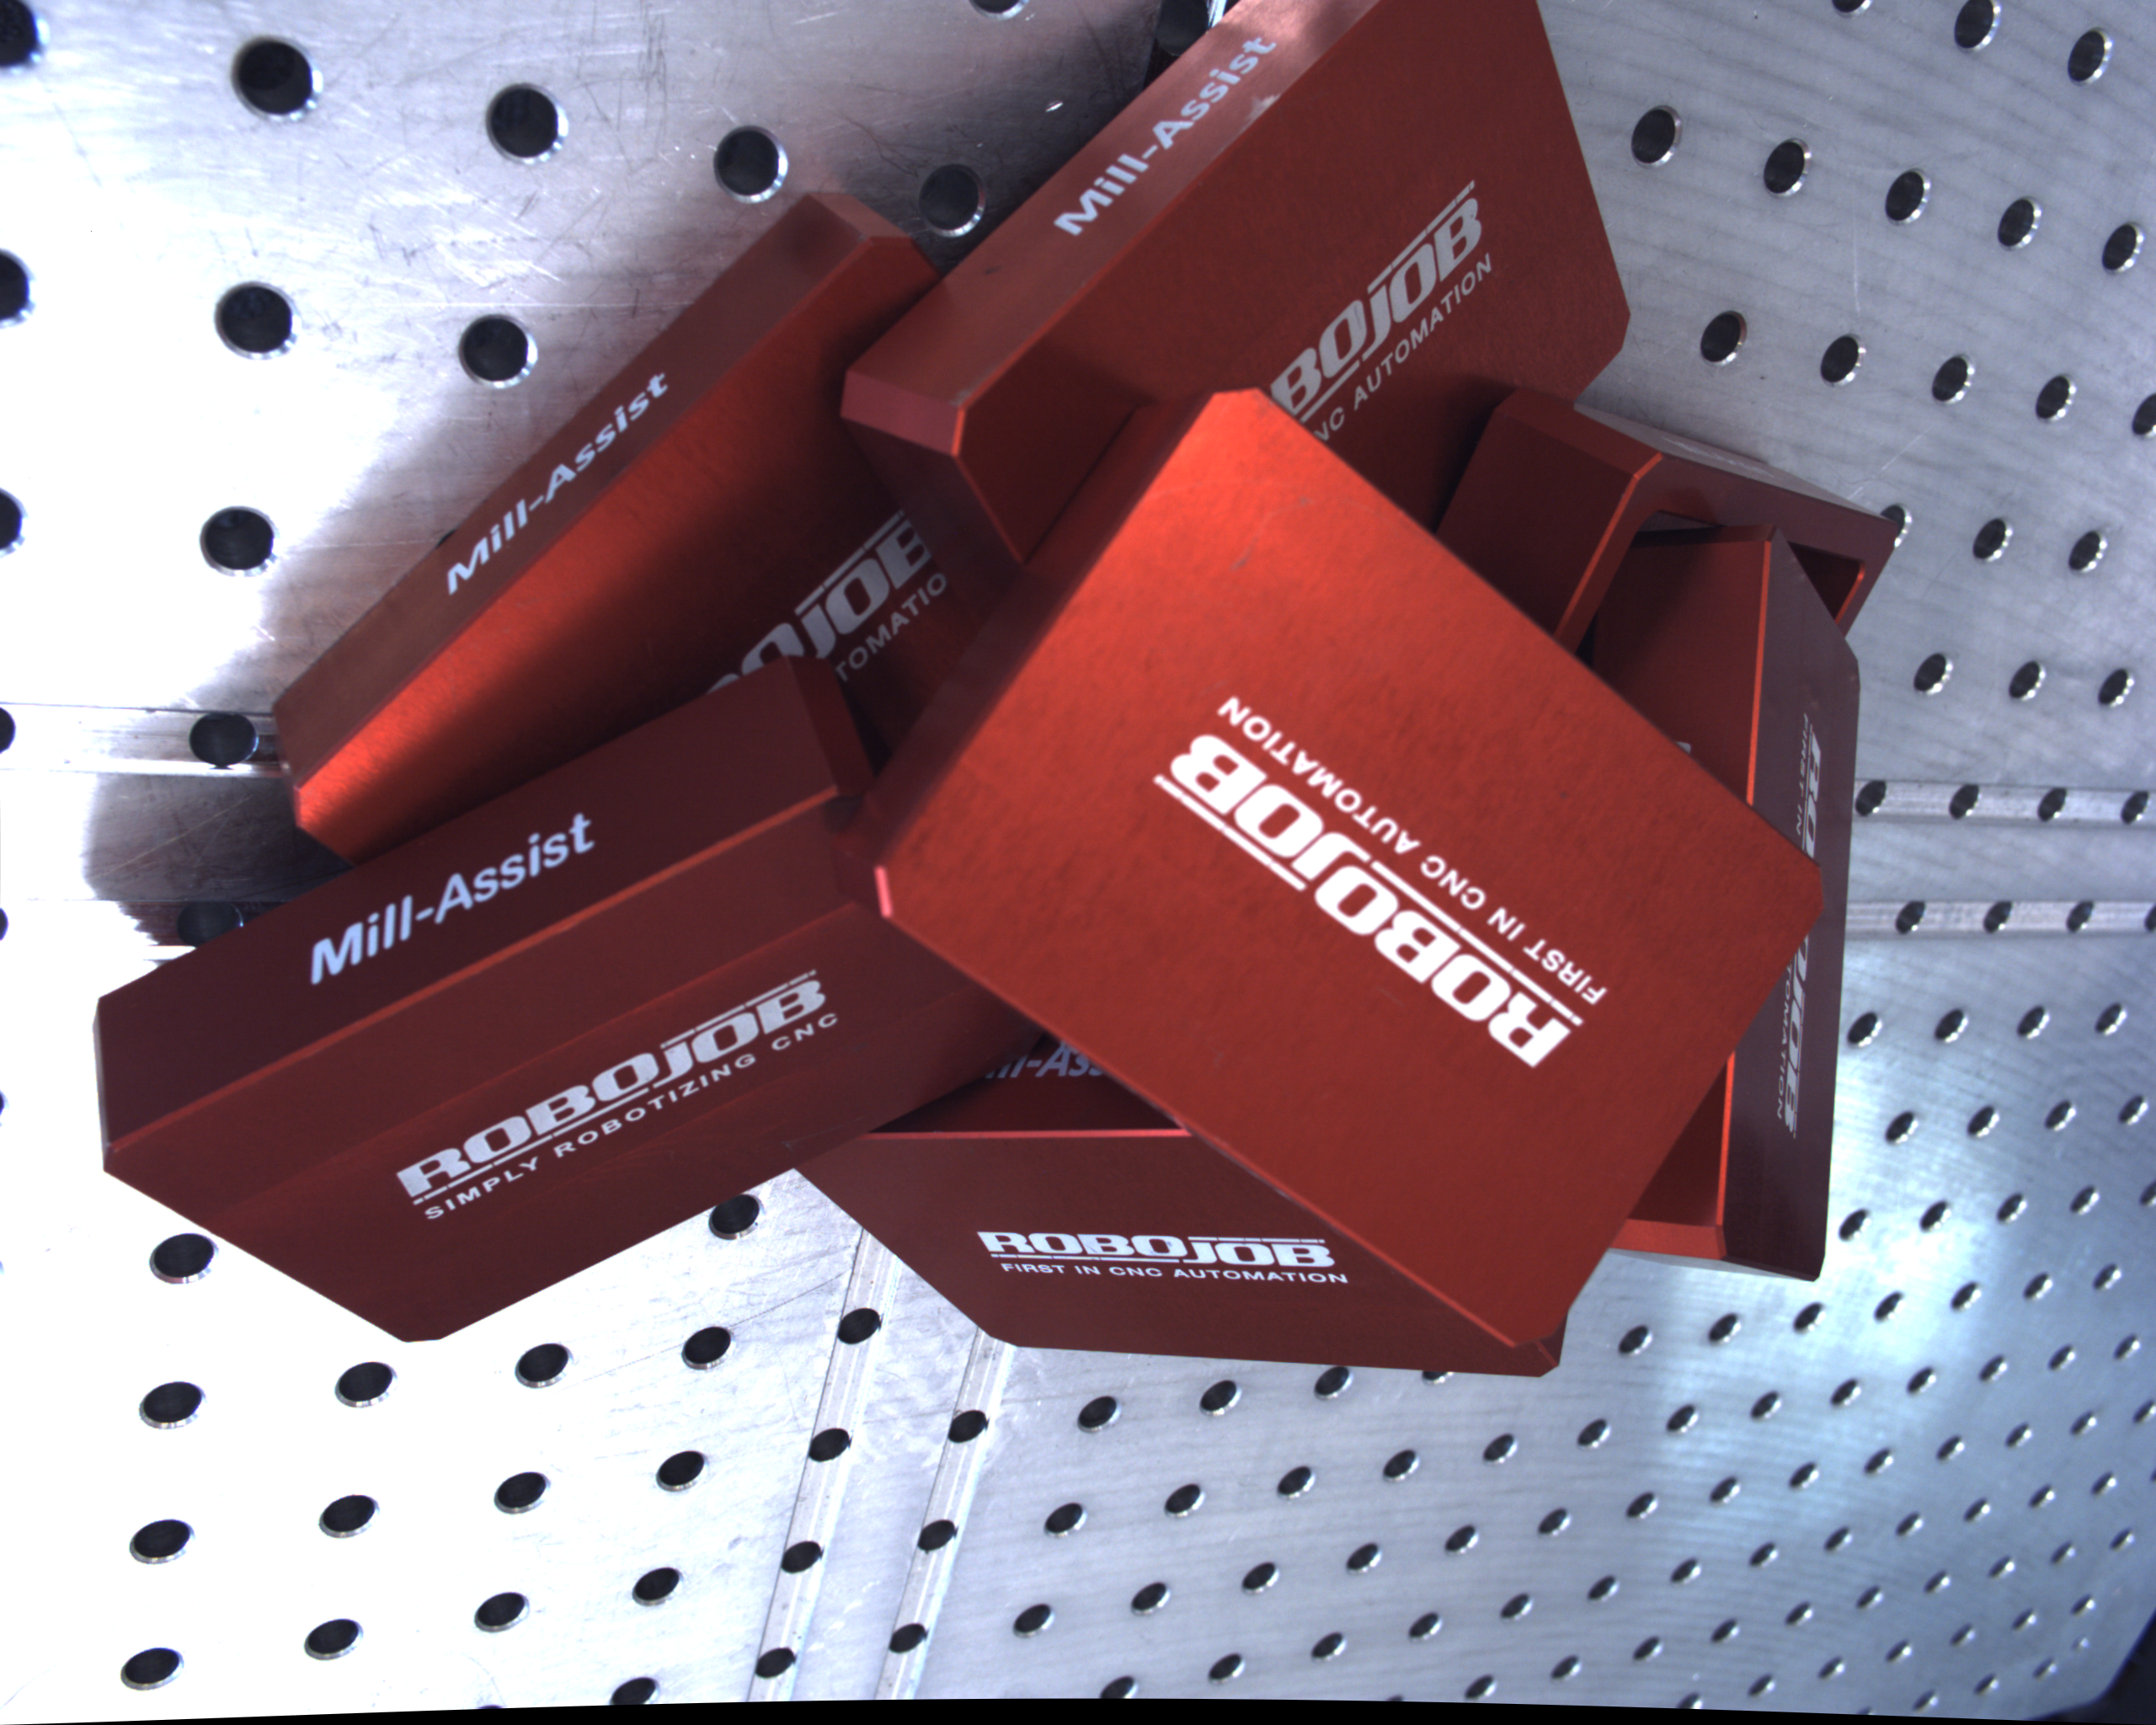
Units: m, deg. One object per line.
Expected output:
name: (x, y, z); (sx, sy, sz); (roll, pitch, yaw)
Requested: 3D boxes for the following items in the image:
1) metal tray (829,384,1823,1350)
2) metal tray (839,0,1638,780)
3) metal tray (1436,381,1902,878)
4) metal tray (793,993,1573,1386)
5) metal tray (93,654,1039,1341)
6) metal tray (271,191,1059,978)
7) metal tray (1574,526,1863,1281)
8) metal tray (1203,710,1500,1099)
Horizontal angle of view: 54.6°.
metal tray: (0.041, 0.003, 0.317); (0.130, 0.030, 0.090); (36, 84, -19)
metal tray: (0.033, -0.084, 0.349); (0.130, 0.030, 0.090); (-47, 133, -14)
metal tray: (0.108, -0.038, 0.414); (0.131, 0.030, 0.089); (-1, 121, -51)
metal tray: (0.019, 0.063, 0.400); (0.090, 0.130, 0.030); (51, 47, -40)
metal tray: (-0.080, 0.027, 0.351); (0.130, 0.030, 0.090); (-26, 145, 2)
metal tray: (-0.056, -0.035, 0.354); (0.130, 0.030, 0.090); (-44, 129, 1)
metal tray: (0.123, 0.012, 0.400); (0.090, 0.030, 0.130); (24, 71, -58)
metal tray: (0.063, 0.013, 0.412); (0.030, 0.090, 0.130); (-39, 129, -1)
